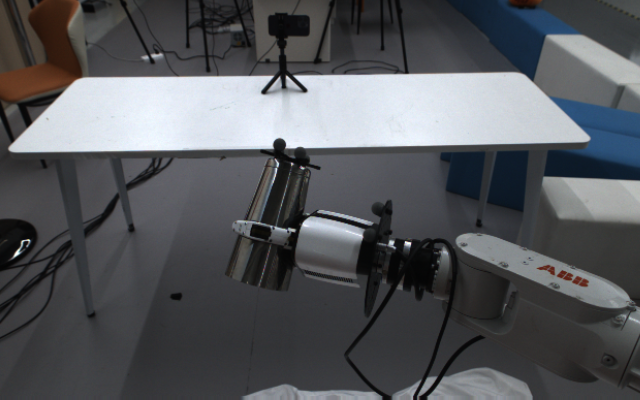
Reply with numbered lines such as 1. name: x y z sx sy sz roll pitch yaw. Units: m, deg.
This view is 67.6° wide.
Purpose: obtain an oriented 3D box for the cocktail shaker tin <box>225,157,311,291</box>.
1. cocktail shaker tin: -0.066 0.033 0.680 0.093 0.170 0.093 15 -4 1
